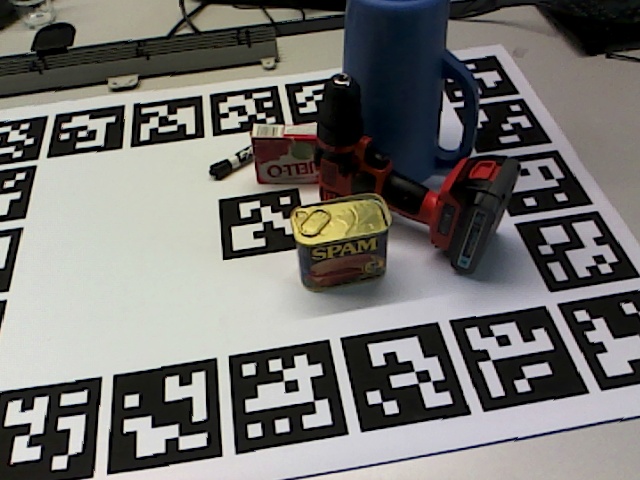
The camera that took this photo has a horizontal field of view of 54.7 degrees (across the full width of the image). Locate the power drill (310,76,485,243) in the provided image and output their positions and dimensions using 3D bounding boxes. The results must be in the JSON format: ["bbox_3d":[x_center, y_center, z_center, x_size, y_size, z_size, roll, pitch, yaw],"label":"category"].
[{"bbox_3d":[0.076,-0.080,0.673,0.187,0.184,0.057,22,56,14],"label":"power drill"}]

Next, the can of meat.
[{"bbox_3d":[0.022,0.008,0.660,0.102,0.083,0.058,-9,47,-5],"label":"can of meat"}]

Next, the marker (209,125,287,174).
[{"bbox_3d":[-0.094,-0.120,0.822,0.121,0.019,0.020,-31,55,-20],"label":"marker"}]

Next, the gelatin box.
[{"bbox_3d":[-0.033,-0.103,0.772,0.089,0.073,0.030,0,53,2],"label":"gelatin box"}]

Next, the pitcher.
[{"bbox_3d":[0.106,-0.179,0.727,0.190,0.241,0.133,13,54,22],"label":"pitcher"}]
